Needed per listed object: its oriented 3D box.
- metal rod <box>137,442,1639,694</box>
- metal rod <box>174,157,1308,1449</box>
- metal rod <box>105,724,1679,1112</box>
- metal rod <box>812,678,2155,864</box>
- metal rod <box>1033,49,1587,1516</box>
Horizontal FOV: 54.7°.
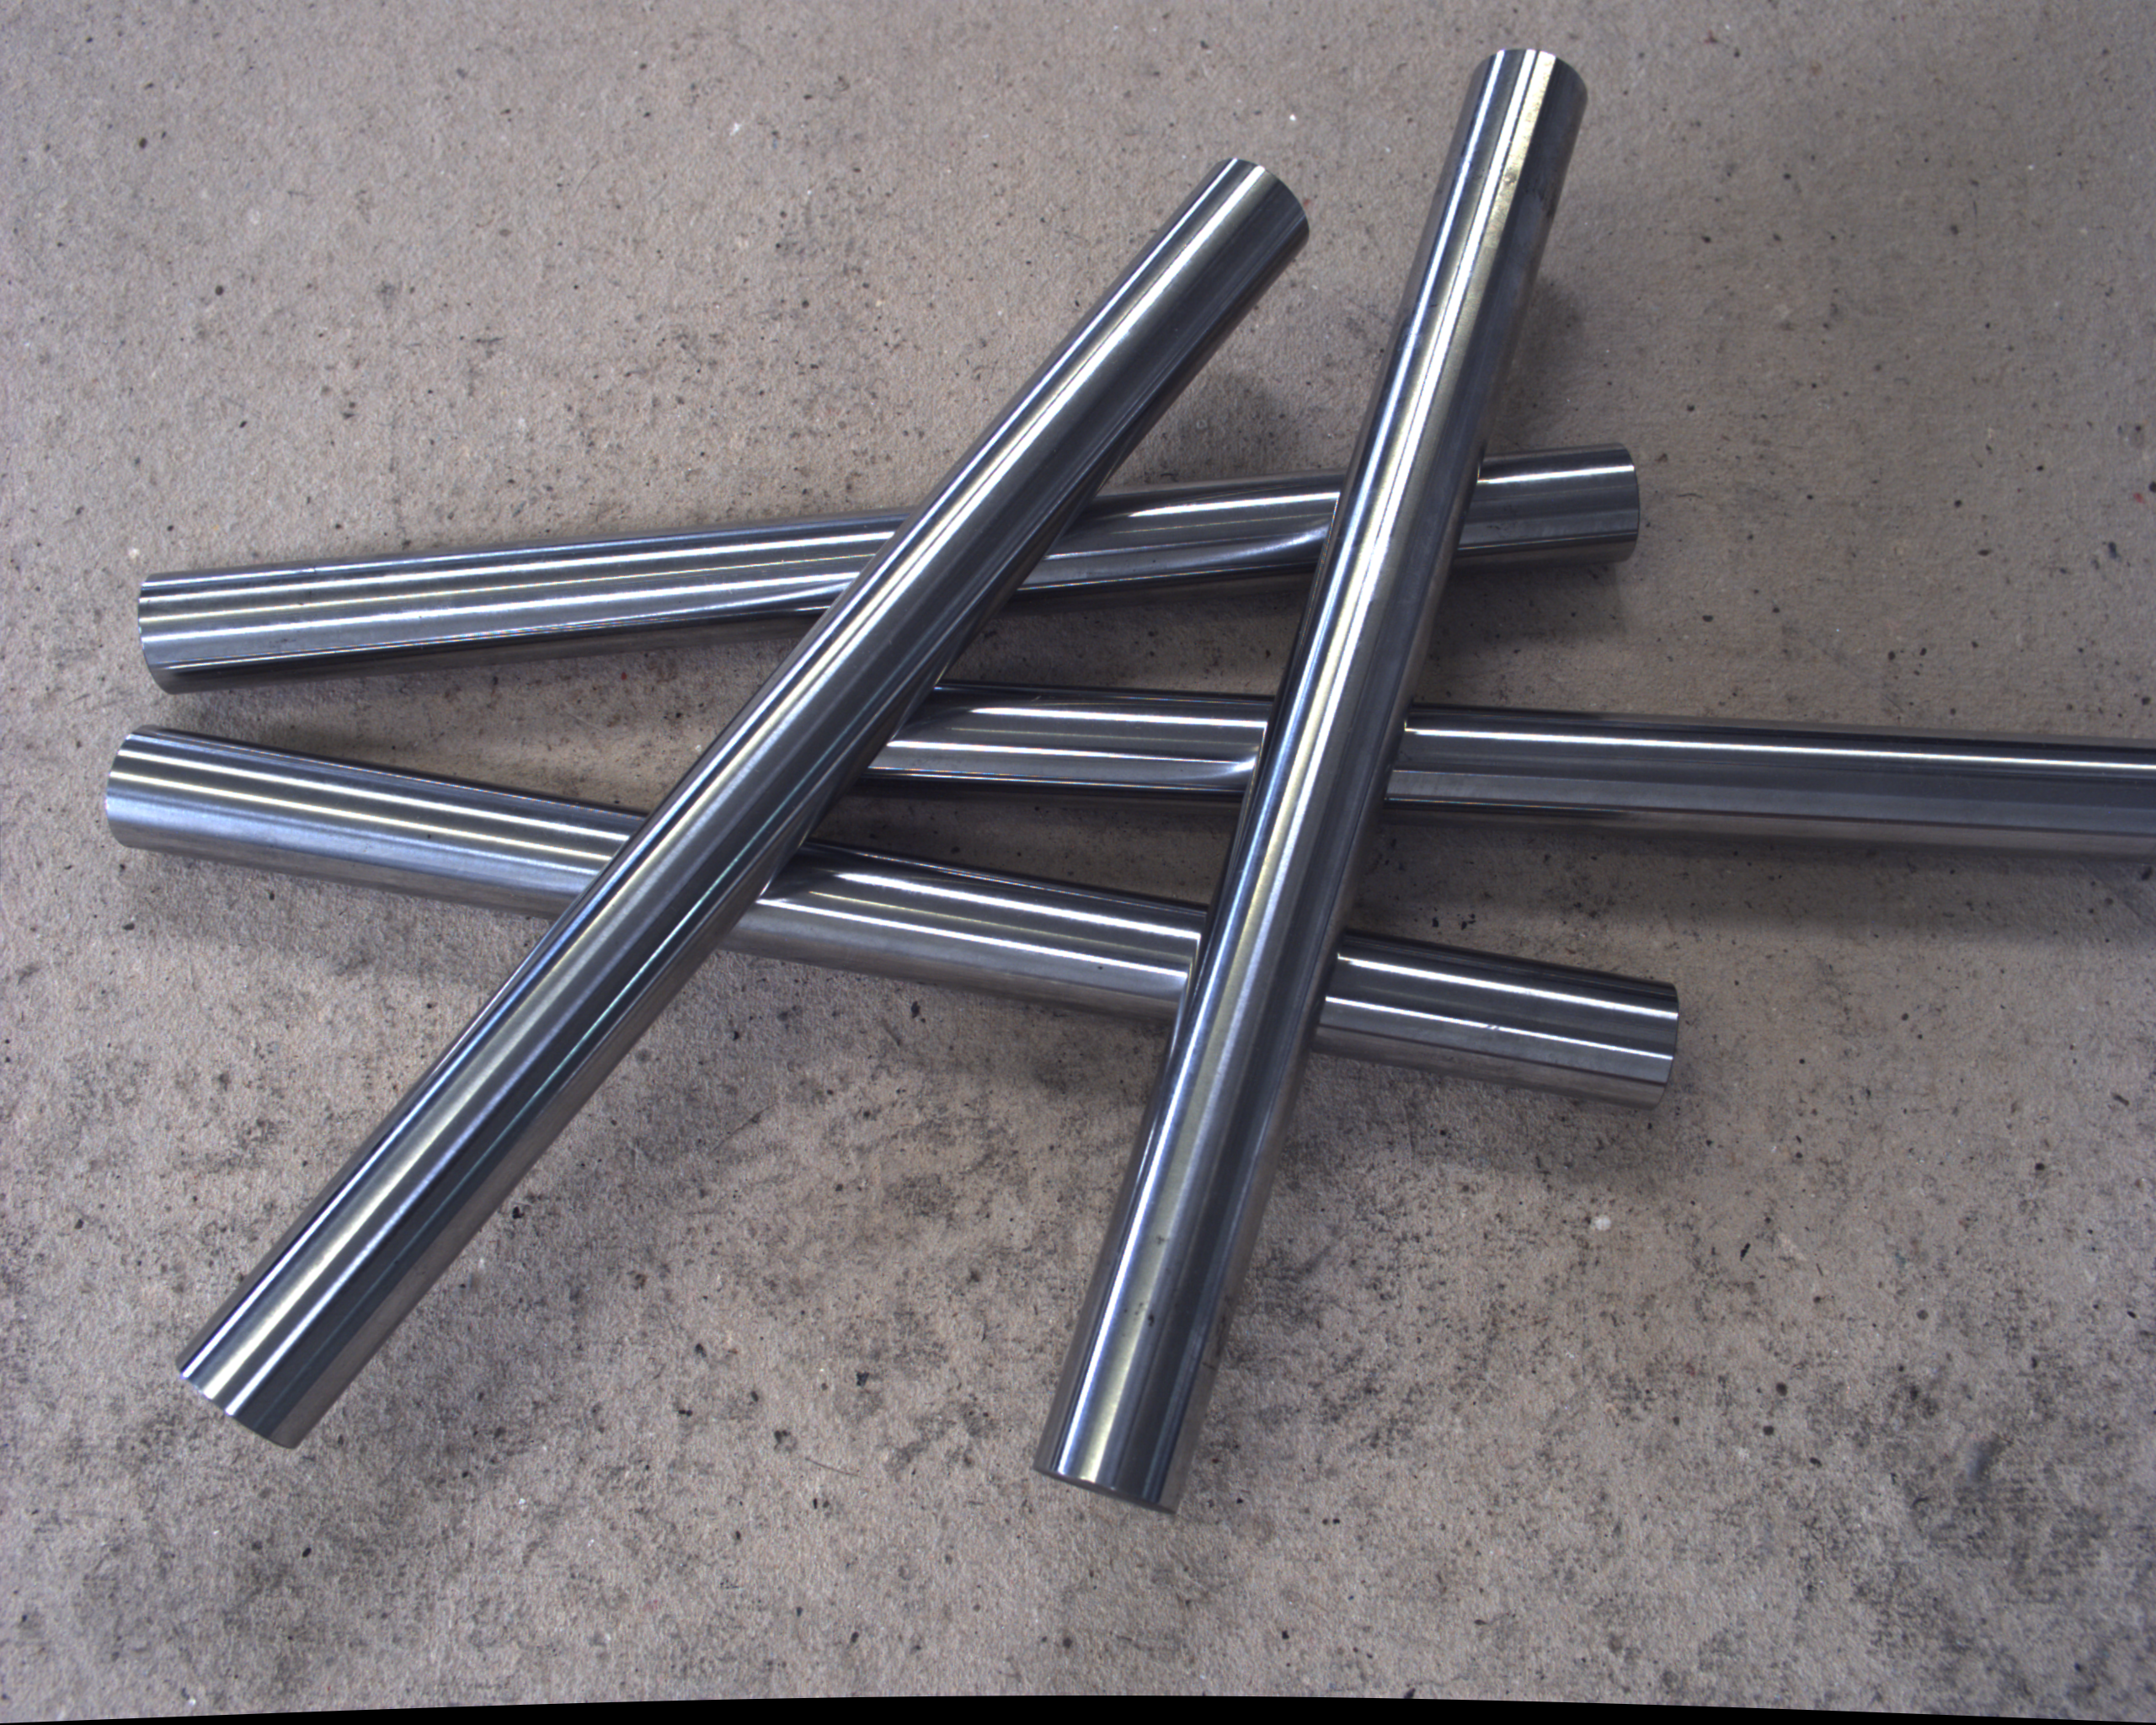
[{"bbox_3d":[-0.036,-0.061,0.431,0.302,0.025,0.025,-6,70,-2],"label":"metal rod"},{"bbox_3d":[-0.052,-0.023,0.391,0.025,0.025,0.300,35,73,12],"label":"metal rod"},{"bbox_3d":[-0.038,0.010,0.405,0.302,0.025,0.025,10,70,3],"label":"metal rod"},{"bbox_3d":[0.093,-0.018,0.416,0.302,0.025,0.025,3,70,1],"label":"metal rod"},{"bbox_3d":[0.050,-0.030,0.394,0.025,0.025,0.299,17,71,6],"label":"metal rod"}]
